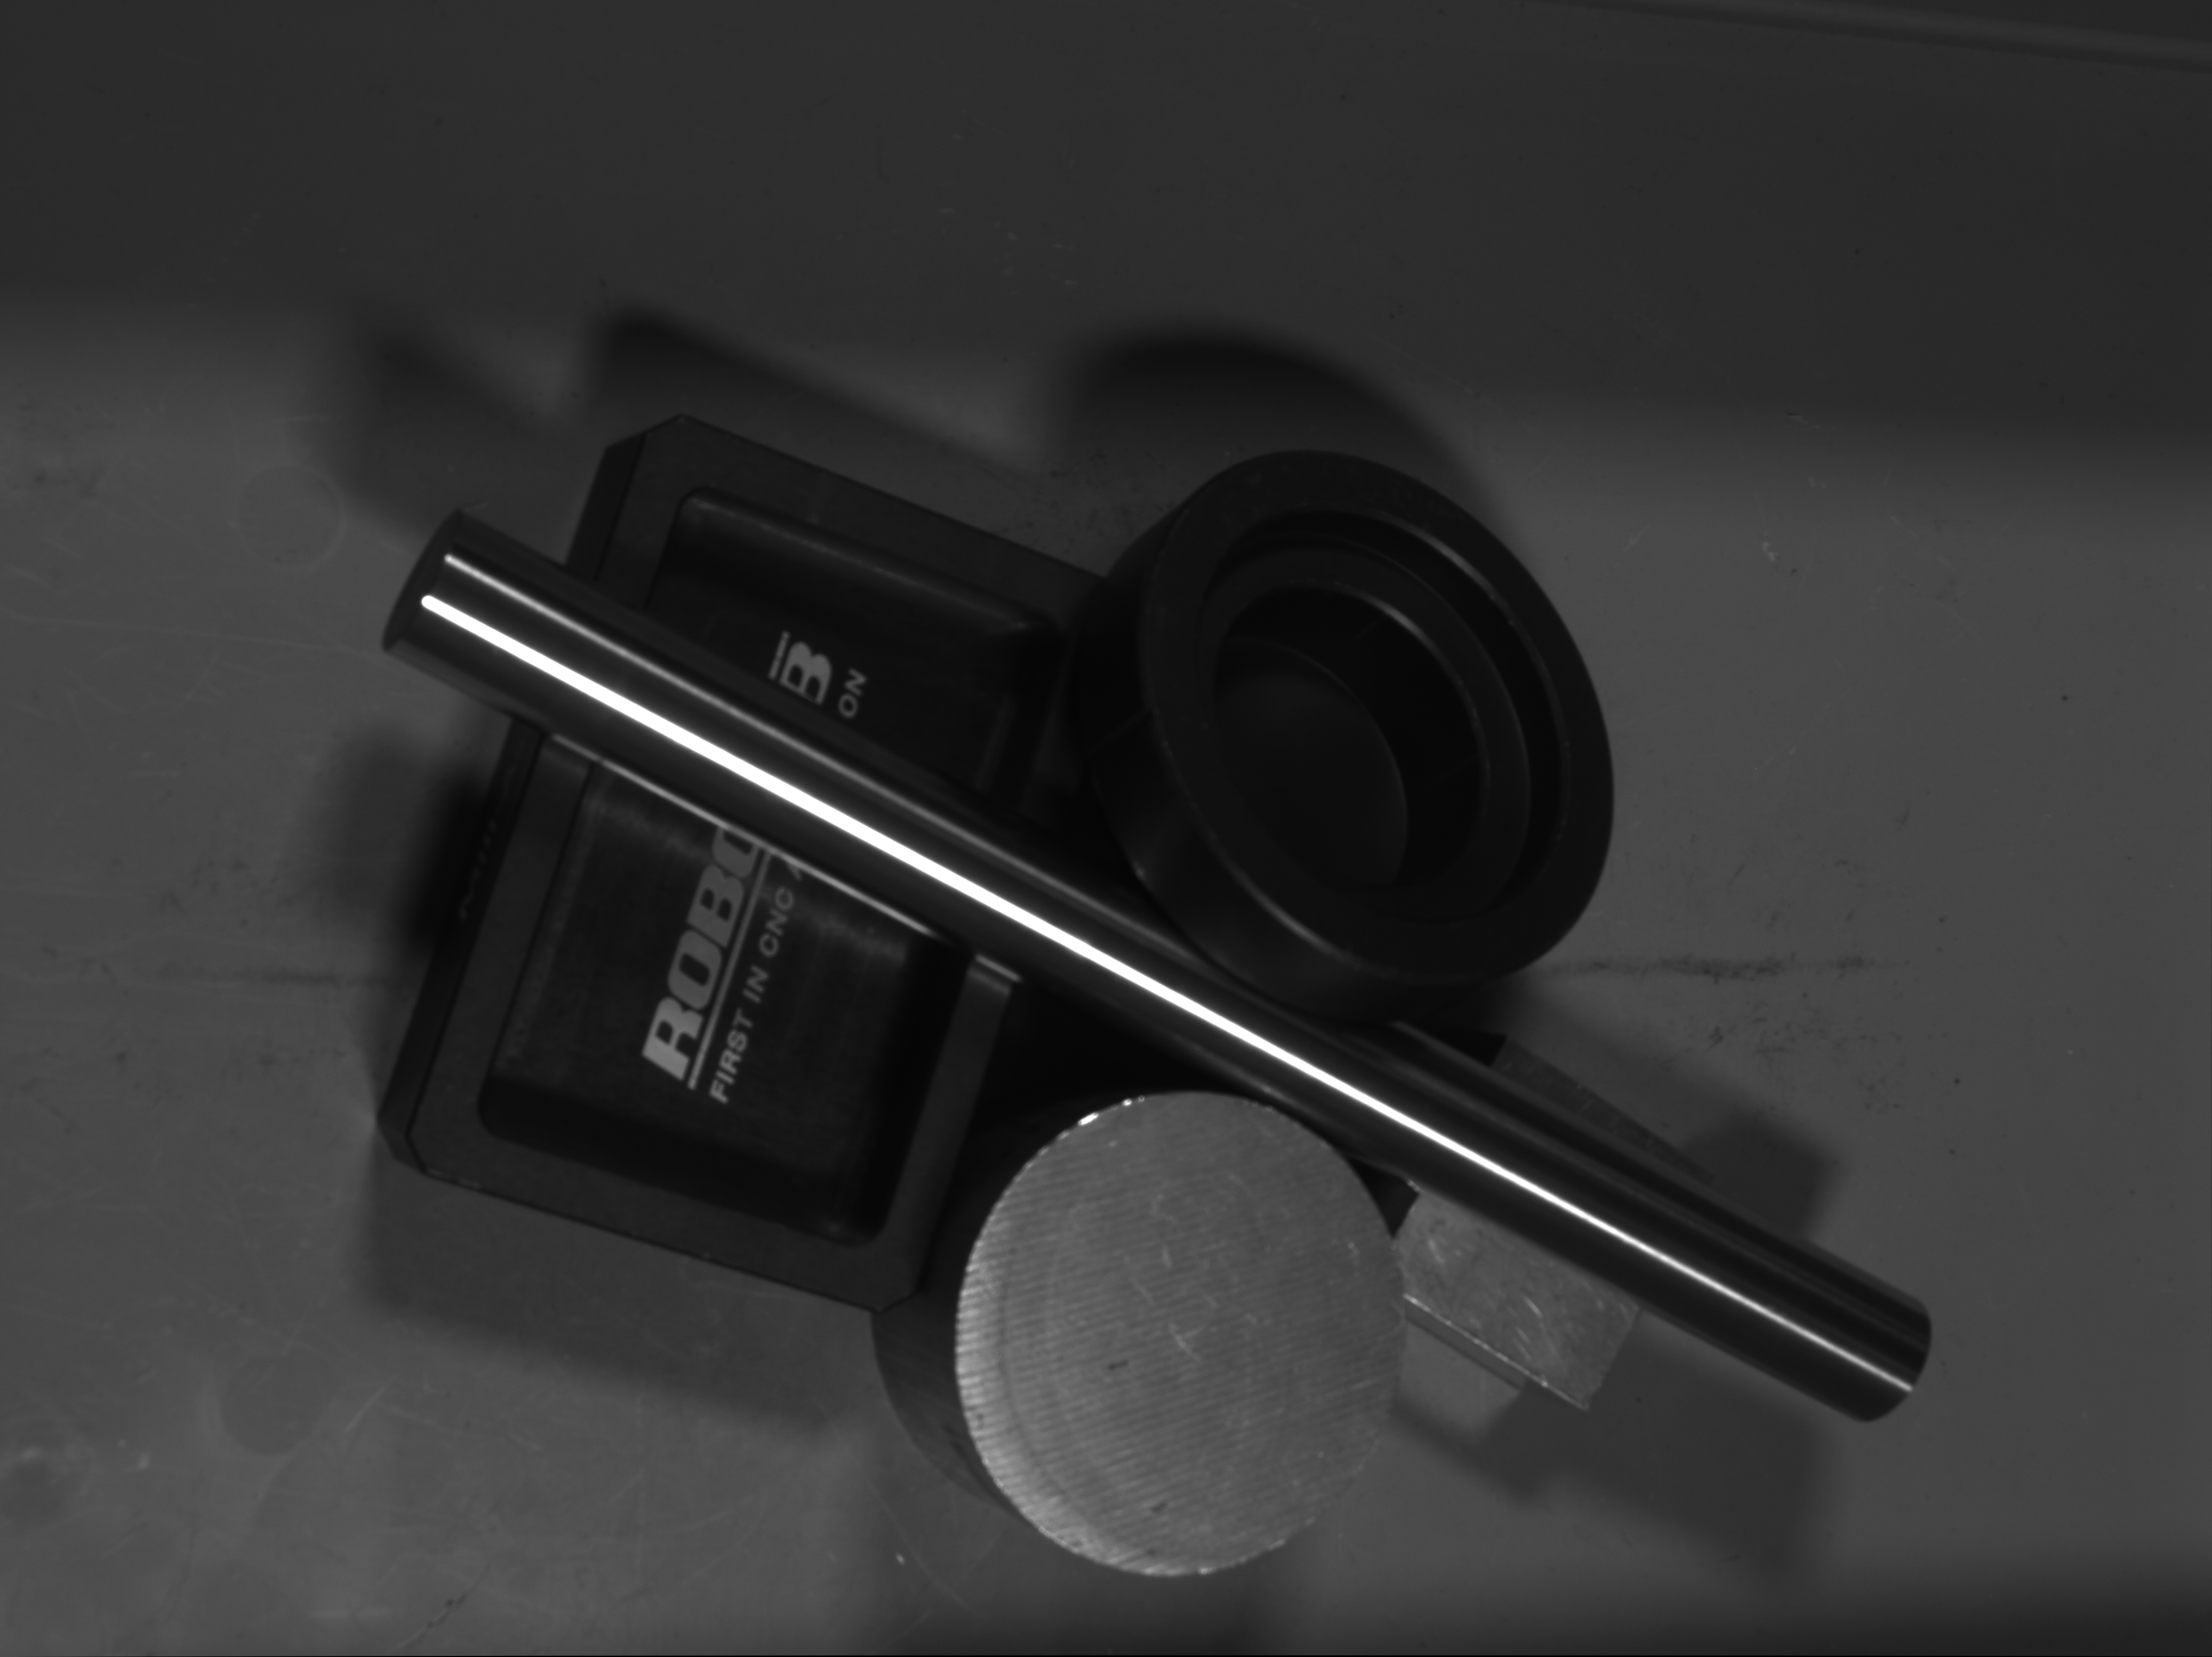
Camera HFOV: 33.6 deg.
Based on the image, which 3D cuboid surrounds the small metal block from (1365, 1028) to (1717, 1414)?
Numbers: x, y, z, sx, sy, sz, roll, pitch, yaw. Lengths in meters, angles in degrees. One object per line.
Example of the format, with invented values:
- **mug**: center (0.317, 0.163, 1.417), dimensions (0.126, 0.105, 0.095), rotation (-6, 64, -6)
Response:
- **small metal block**: center (0.075, 0.071, 0.669), dimensions (0.050, 0.025, 0.050), rotation (33, 79, -17)

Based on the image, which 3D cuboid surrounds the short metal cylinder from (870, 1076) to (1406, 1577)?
- **short metal cylinder**: center (0.005, 0.084, 0.630), dimensions (0.080, 0.050, 0.080), rotation (0, 90, -20)

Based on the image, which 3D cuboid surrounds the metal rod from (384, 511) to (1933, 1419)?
- **metal rod**: center (0.018, 0.029, 0.618), dimensions (0.301, 0.025, 0.025), rotation (28, 81, -20)

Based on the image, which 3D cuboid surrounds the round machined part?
- **round machined part**: center (0.037, -0.012, 0.633), dimensions (0.098, 0.042, 0.098), rotation (15, 61, -28)

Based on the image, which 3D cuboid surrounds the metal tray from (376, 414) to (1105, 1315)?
- **metal tray**: center (-0.059, 0.007, 0.617), dimensions (0.090, 0.030, 0.130), rotation (20, 83, -19)
